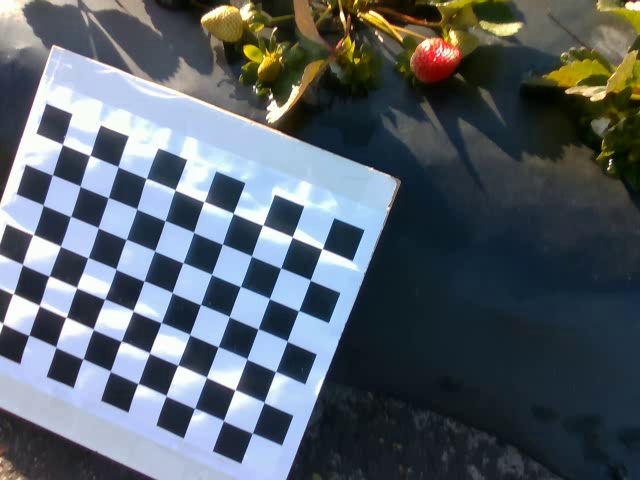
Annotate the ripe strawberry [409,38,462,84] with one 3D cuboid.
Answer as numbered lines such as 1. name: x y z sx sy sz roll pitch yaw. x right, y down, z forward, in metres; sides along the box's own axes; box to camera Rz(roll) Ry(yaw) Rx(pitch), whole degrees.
1. ripe strawberry: 0.081 -0.118 0.413 0.042 0.037 0.045 2 4 -21
